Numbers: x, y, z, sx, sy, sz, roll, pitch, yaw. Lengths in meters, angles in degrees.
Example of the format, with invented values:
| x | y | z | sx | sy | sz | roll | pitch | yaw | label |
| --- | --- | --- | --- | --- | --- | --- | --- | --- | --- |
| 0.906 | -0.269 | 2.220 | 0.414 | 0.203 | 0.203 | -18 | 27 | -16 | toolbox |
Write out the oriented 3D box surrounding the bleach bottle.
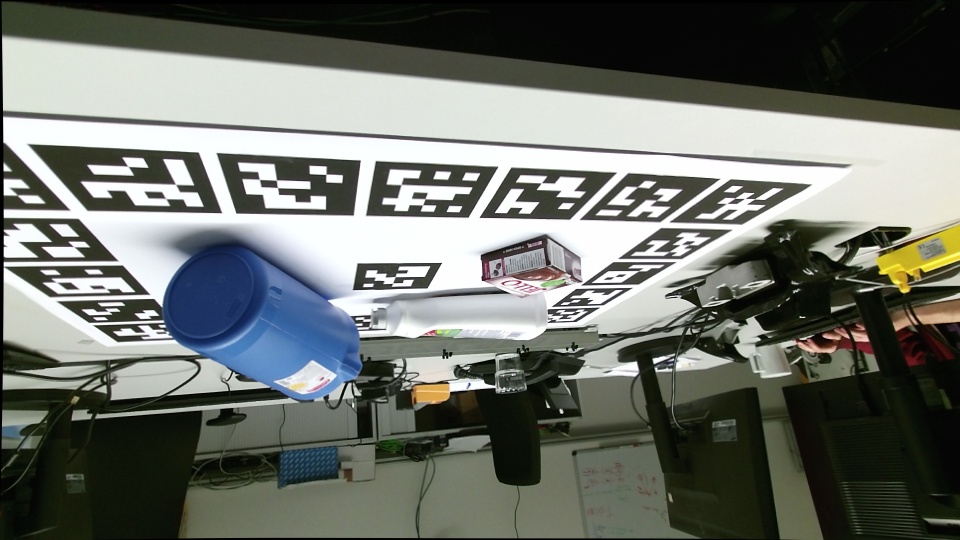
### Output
| x | y | z | sx | sy | sz | roll | pitch | yaw | label |
| --- | --- | --- | --- | --- | --- | --- | --- | --- | --- |
| -0.039 | 0.079 | 0.809 | 0.252 | 0.067 | 0.103 | 0 | 153 | -12 | bleach bottle |

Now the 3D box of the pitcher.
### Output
| x | y | z | sx | sy | sz | roll | pitch | yaw | label |
| --- | --- | --- | --- | --- | --- | --- | --- | --- | --- |
| -0.263 | 0.057 | 0.638 | 0.189 | 0.133 | 0.243 | 22 | 161 | 20 | pitcher |

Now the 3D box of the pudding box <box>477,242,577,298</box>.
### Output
| x | y | z | sx | sy | sz | roll | pitch | yaw | label |
| --- | --- | --- | --- | --- | --- | --- | --- | --- | --- |
| 0.061 | 0.006 | 0.673 | 0.090 | 0.038 | 0.114 | -12 | 157 | 28 | pudding box |
